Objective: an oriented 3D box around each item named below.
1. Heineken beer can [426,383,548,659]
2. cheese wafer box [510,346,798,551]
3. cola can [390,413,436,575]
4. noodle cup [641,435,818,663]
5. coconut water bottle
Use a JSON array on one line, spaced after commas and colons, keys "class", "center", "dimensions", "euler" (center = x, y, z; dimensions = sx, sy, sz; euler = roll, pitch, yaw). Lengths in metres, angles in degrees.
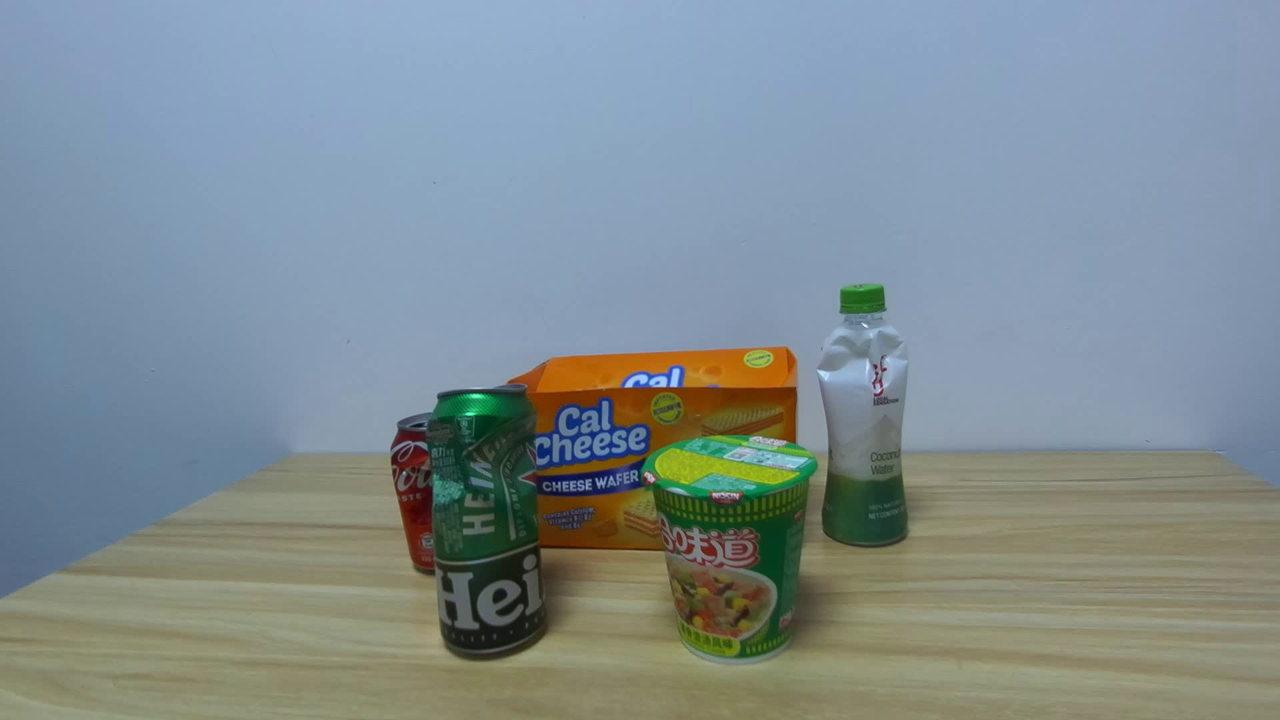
[{"class": "Heineken beer can", "center": [-0.092, 0.096, 0.432], "dimensions": [0.067, 0.159, 0.078], "euler": [-3, 2, -14]}, {"class": "cheese wafer box", "center": [0.014, 0.070, 0.588], "dimensions": [0.230, 0.132, 0.152], "euler": [-1, 13, 11]}, {"class": "cola can", "center": [-0.159, 0.101, 0.584], "dimensions": [0.066, 0.117, 0.066], "euler": [0, 15, 5]}, {"class": "noodle cup", "center": [0.053, 0.109, 0.414], "dimensions": [0.097, 0.110, 0.097], "euler": [-3, 14, 1]}, {"class": "coconut water bottle", "center": [0.164, 0.040, 0.523], "dimensions": [0.069, 0.186, 0.069], "euler": [-6, 12, 1]}]
